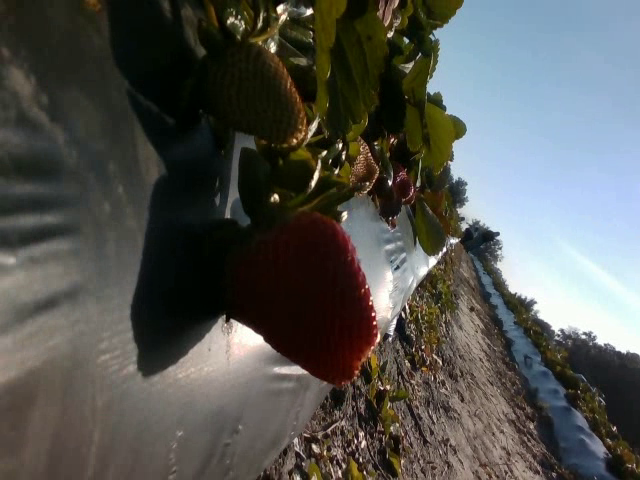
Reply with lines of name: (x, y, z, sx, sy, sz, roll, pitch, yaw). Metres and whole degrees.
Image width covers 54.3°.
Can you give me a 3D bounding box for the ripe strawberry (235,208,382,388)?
ripe strawberry: (-0.006, 0.018, 0.170, 0.042, 0.059, 0.042, -21, -22, -2)
